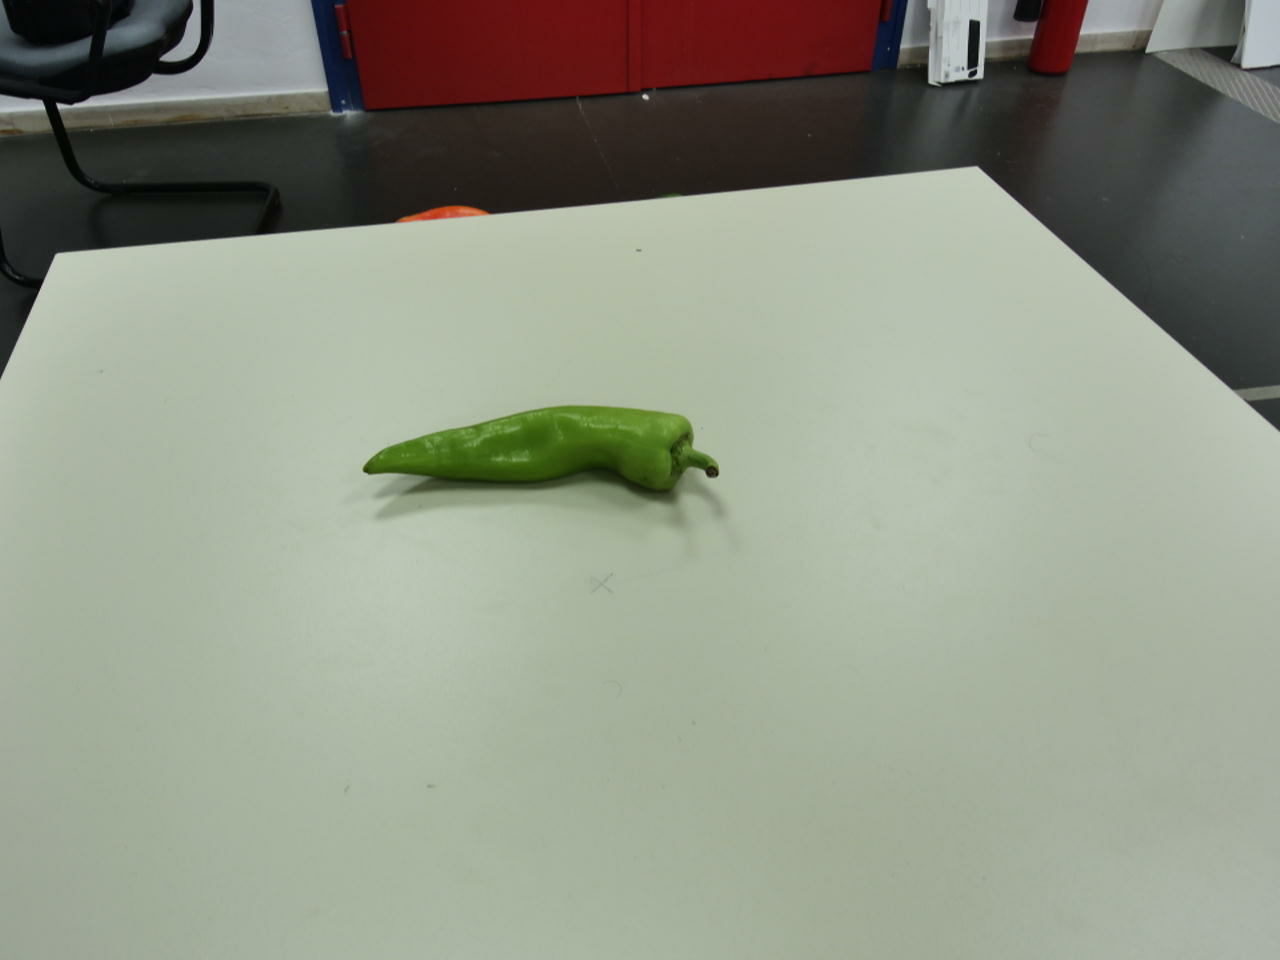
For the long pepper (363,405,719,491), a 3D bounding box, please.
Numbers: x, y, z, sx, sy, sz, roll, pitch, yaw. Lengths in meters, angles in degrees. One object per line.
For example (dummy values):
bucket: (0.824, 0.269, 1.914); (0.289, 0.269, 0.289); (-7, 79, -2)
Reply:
long pepper: (-0.055, -0.019, 0.589); (0.205, 0.045, 0.065); (3, 39, 3)
